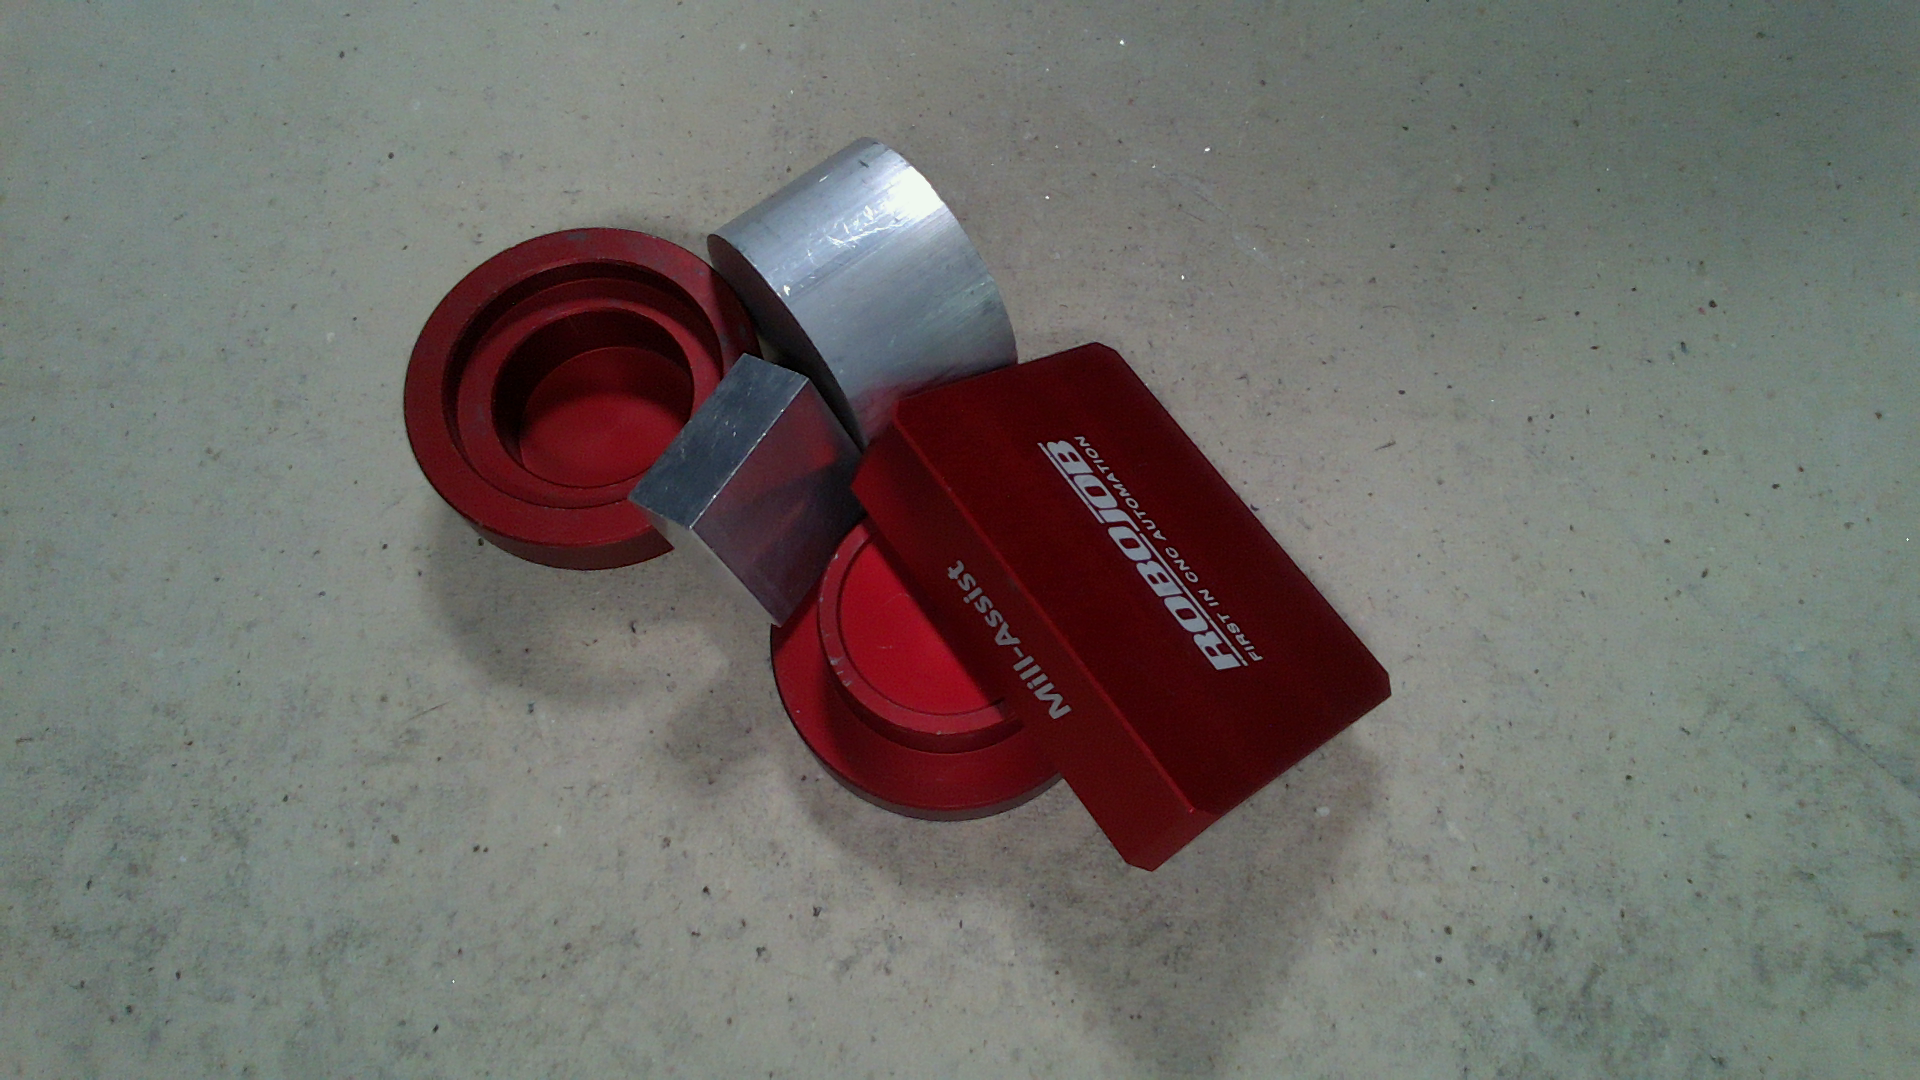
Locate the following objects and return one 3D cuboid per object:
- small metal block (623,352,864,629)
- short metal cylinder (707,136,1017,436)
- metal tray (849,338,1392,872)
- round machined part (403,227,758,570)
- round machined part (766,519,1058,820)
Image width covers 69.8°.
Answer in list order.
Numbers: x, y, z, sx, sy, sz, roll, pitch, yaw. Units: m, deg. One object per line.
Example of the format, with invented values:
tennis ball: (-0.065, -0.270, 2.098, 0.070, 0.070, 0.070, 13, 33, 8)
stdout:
small metal block: (-0.053, -0.013, 0.367, 0.025, 0.050, 0.050, 23, 69, 34)
short metal cylinder: (-0.028, -0.066, 0.390, 0.050, 0.080, 0.080, -36, 74, -12)
metal tray: (0.043, 0.010, 0.365, 0.090, 0.030, 0.130, -22, 68, -41)
round machined part: (-0.104, -0.037, 0.399, 0.098, 0.042, 0.098, 0, 70, 0)
round machined part: (-0.004, 0.025, 0.376, 0.098, 0.042, 0.098, 0, 70, 0)
